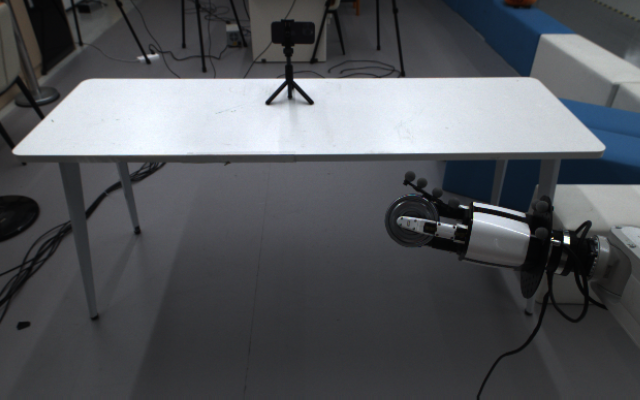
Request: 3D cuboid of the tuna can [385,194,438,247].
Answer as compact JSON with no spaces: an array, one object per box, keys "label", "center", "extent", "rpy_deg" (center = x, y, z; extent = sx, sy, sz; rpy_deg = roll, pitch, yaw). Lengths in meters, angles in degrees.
[{"label":"tuna can","center":[0.151,0.038,0.771],"extent":[0.085,0.085,0.034],"rpy_deg":[13,4,15]}]
